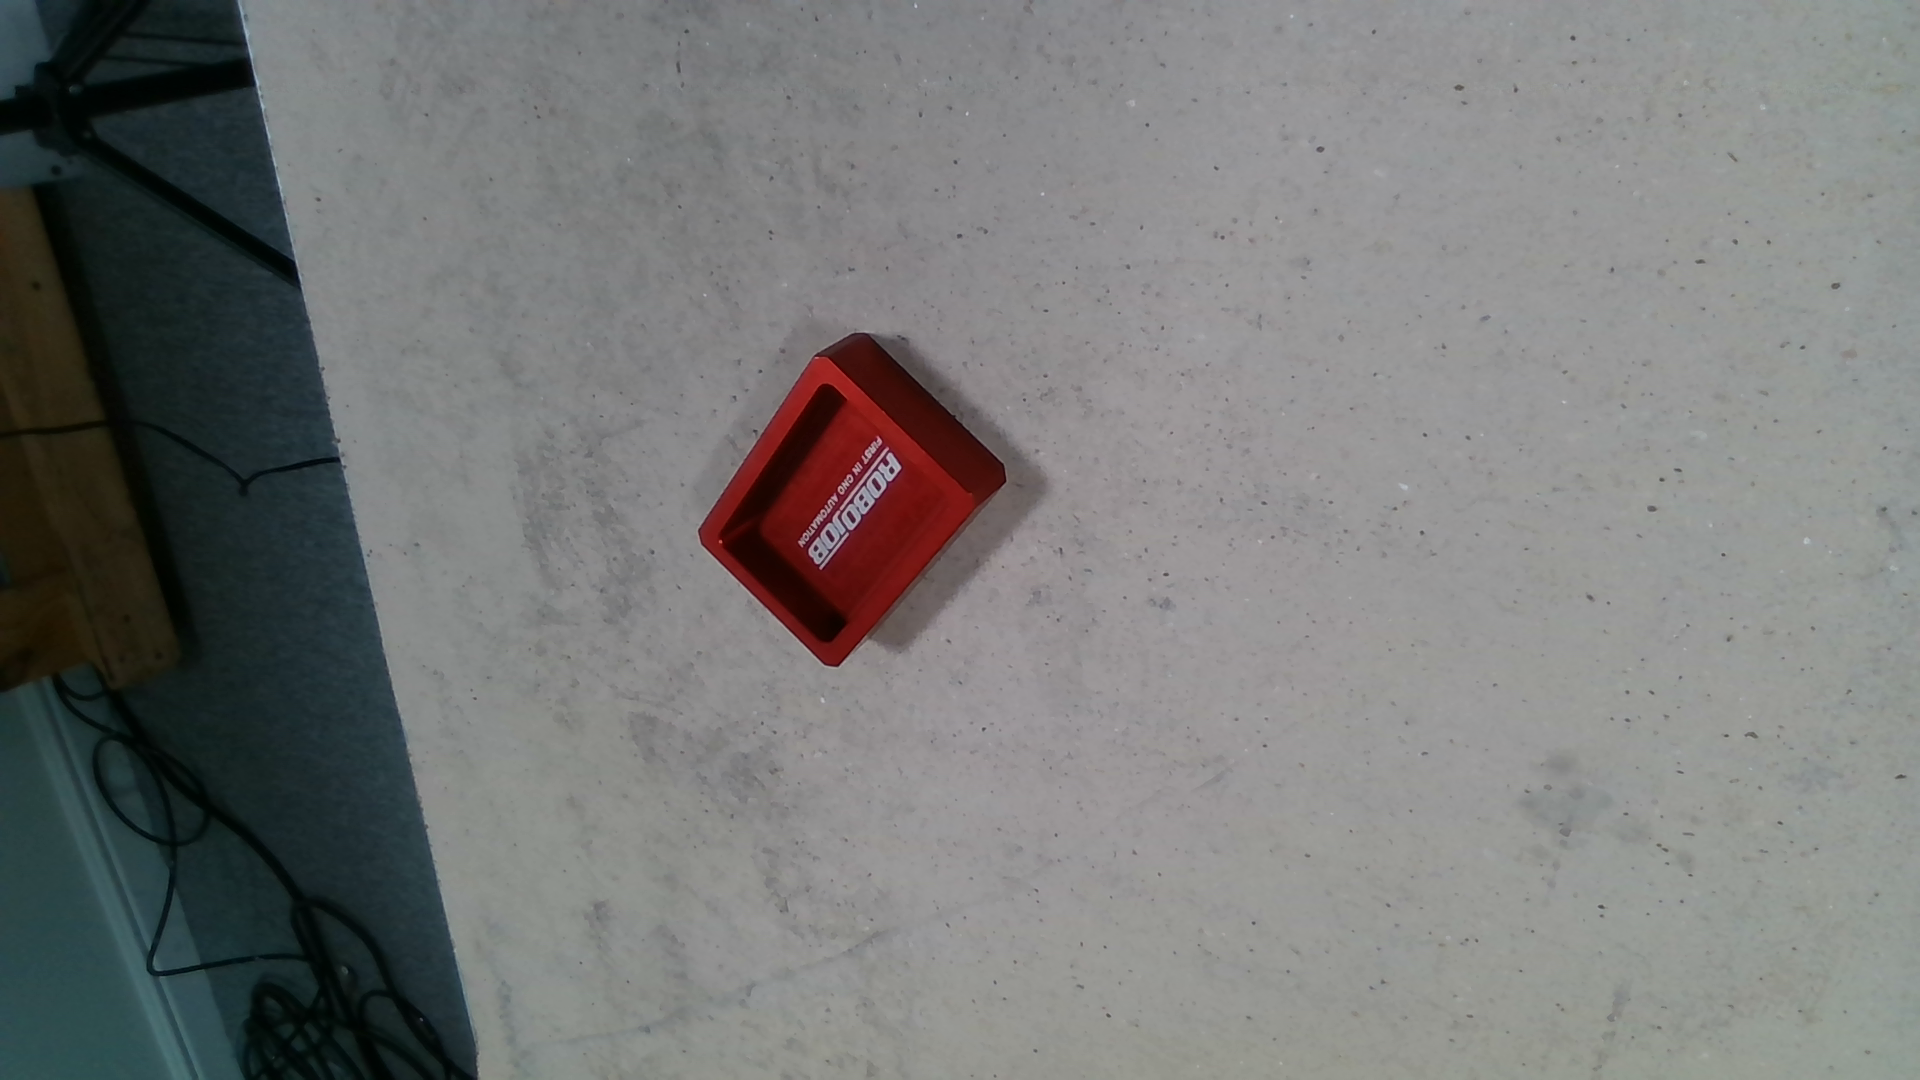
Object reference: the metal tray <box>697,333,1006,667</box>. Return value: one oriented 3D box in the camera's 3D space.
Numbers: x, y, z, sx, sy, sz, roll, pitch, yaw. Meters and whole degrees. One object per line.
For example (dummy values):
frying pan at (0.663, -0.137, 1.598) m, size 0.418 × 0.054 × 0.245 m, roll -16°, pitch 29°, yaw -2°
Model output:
metal tray at (-0.051, -0.014, 0.600) m, size 0.090 × 0.030 × 0.130 m, roll 44°, pitch 129°, yaw 3°
